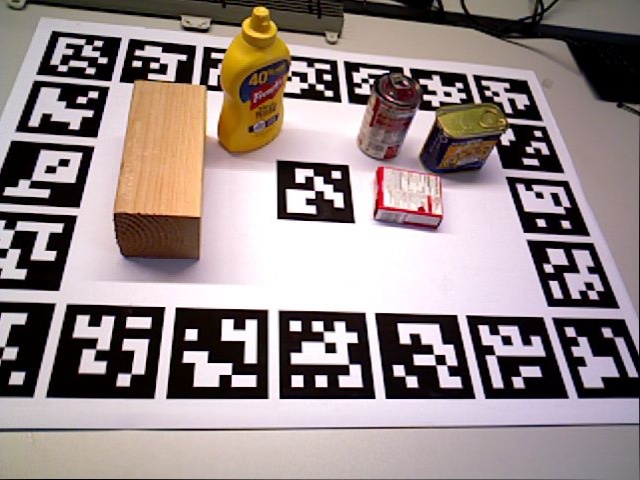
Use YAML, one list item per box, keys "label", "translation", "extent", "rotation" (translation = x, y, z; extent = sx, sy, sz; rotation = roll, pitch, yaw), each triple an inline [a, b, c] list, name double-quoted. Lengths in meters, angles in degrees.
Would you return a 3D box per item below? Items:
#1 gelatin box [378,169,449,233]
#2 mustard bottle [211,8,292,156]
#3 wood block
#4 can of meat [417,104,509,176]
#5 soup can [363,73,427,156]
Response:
- label: "gelatin box"
  translation: [0.122, -0.052, 0.705]
  extent: [0.089, 0.031, 0.072]
  rotation: [10, 57, -2]
- label: "mustard bottle"
  translation: [-0.083, -0.193, 0.671]
  extent: [0.094, 0.196, 0.058]
  rotation: [-20, 61, -25]
- label: "wood block"
  translation: [-0.180, -0.085, 0.636]
  extent: [0.090, 0.092, 0.203]
  rotation: [4, 51, -11]
- label: "can of meat"
  translation: [0.194, -0.138, 0.751]
  extent: [0.100, 0.086, 0.057]
  rotation: [-8, 59, -20]
- label: "soup can"
  translation: [0.101, -0.172, 0.732]
  extent: [0.067, 0.104, 0.067]
  rotation: [5, 57, -8]
